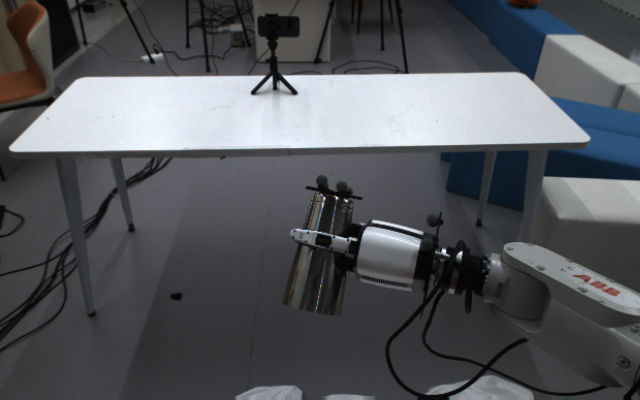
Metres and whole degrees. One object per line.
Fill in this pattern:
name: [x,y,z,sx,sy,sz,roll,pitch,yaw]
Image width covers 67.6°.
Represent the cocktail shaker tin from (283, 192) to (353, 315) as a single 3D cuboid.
cocktail shaker tin: [0.004,0.080,0.737,0.093,0.170,0.093,11,-5,1]
